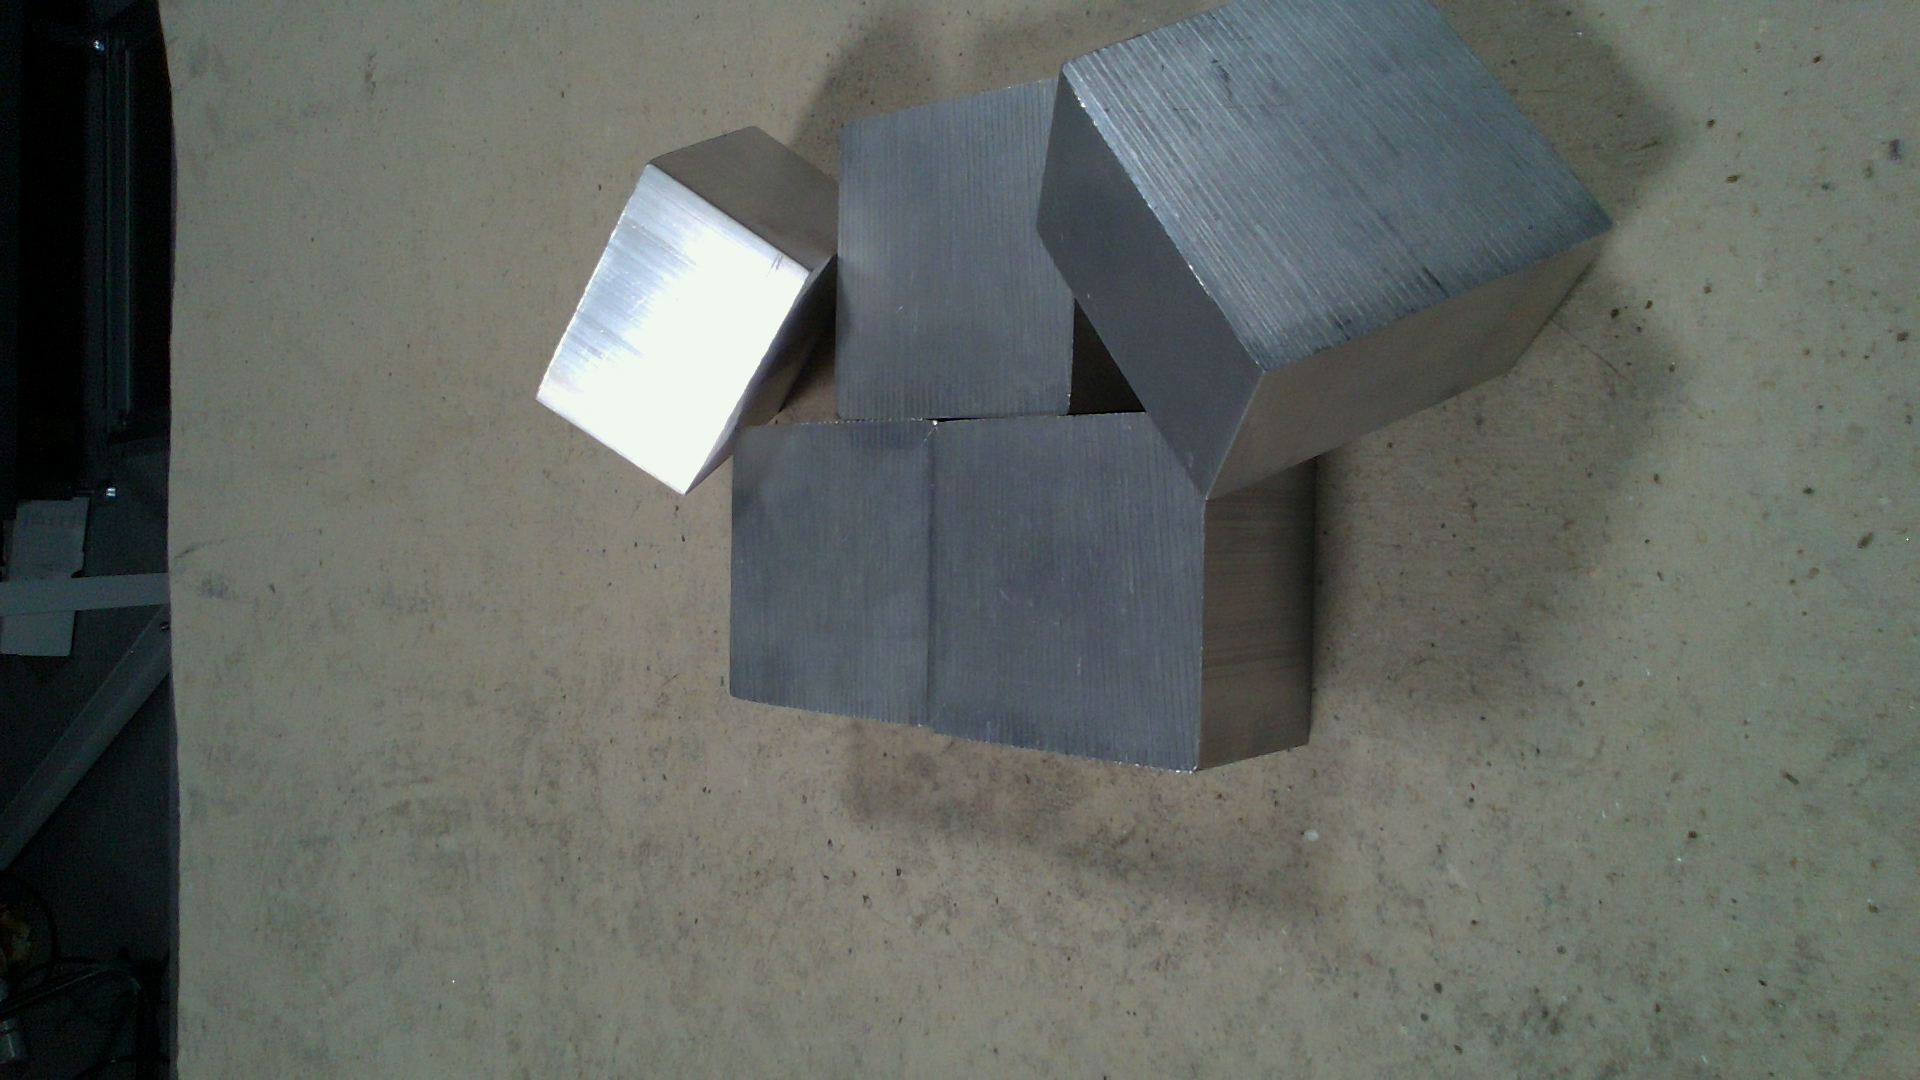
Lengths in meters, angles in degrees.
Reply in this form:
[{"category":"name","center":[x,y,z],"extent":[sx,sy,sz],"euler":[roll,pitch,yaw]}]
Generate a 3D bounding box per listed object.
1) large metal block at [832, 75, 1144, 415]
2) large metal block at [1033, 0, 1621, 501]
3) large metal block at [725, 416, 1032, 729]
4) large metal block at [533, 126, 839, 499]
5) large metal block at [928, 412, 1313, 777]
[{"category":"large metal block","center":[0.013,-0.072,0.368],"extent":[0.080,0.050,0.080],"euler":[3,92,40]},{"category":"large metal block","center":[0.072,-0.067,0.291],"extent":[0.080,0.080,0.050],"euler":[62,165,22]},{"category":"large metal block","center":[-0.021,0.007,0.396],"extent":[0.080,0.050,0.080],"euler":[2,91,40]},{"category":"large metal block","center":[-0.071,-0.070,0.410],"extent":[0.050,0.080,0.080],"euler":[34,116,-2]},{"category":"large metal block","center":[0.039,0.011,0.343],"extent":[0.080,0.050,0.080],"euler":[2,91,40]}]
